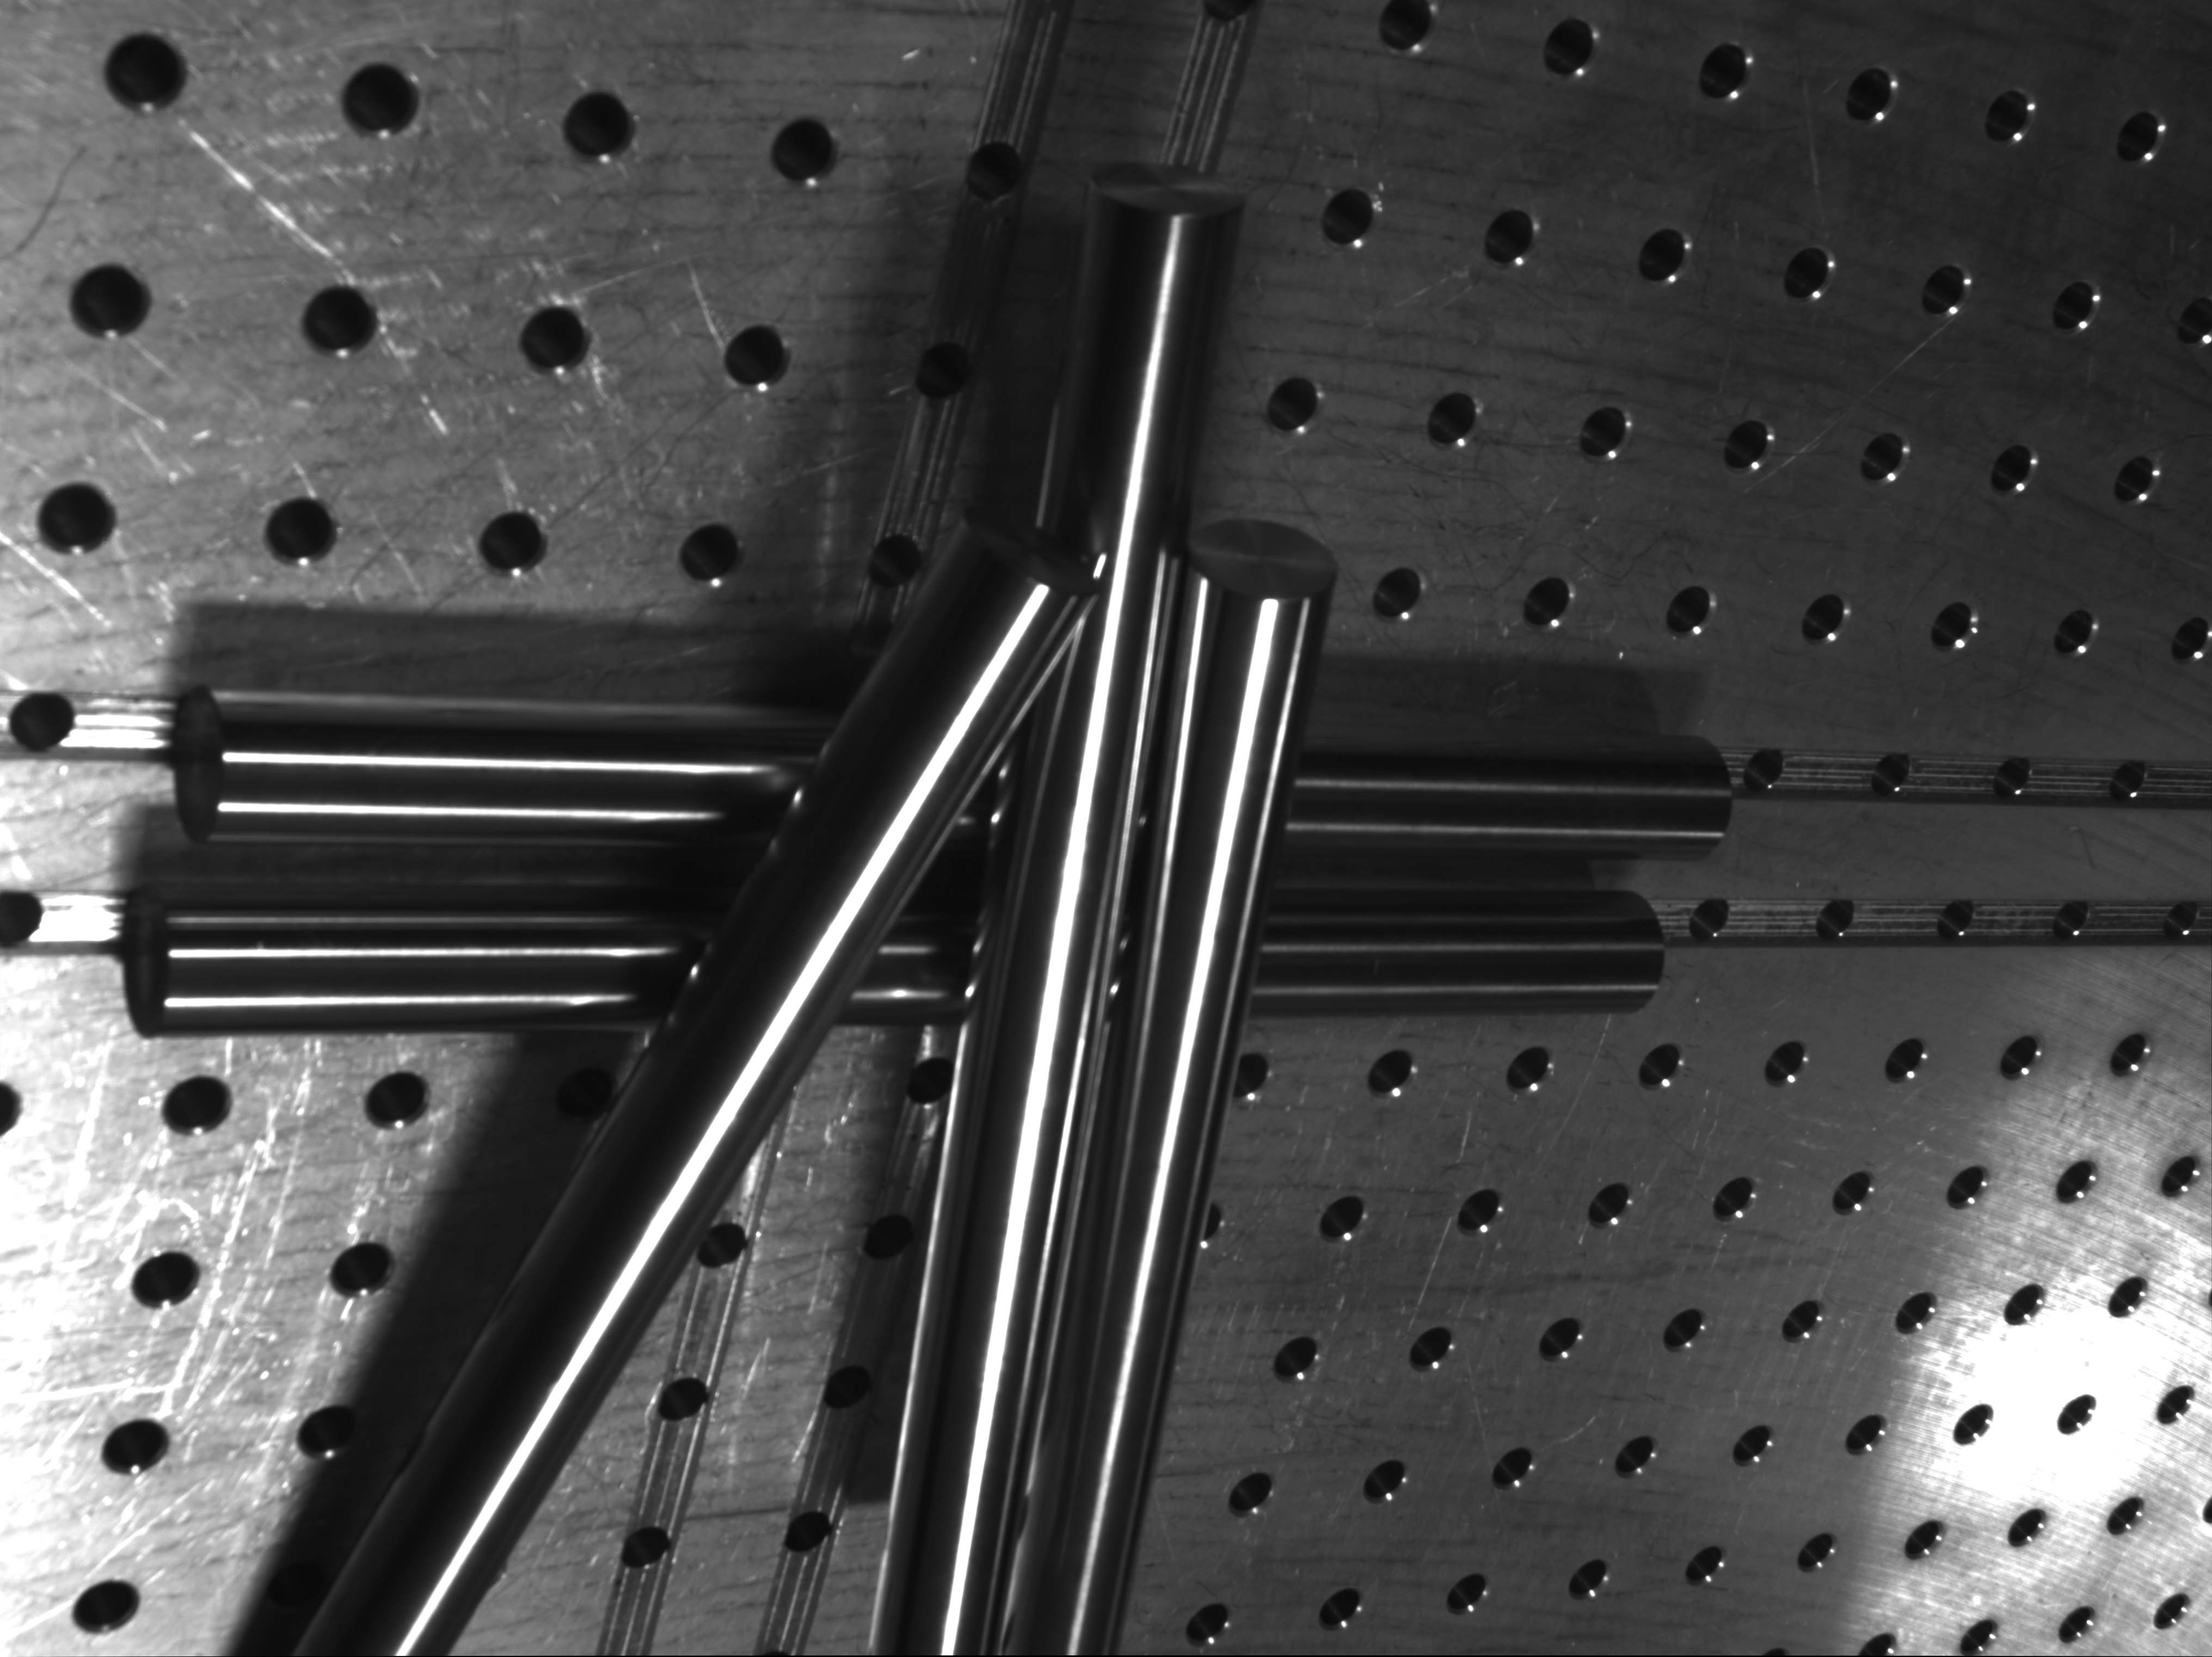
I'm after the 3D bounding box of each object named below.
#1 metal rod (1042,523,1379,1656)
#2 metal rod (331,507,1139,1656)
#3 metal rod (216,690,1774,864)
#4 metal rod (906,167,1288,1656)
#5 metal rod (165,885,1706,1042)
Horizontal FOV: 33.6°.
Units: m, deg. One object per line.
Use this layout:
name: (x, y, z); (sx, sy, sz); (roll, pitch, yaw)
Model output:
metal rod: (0.013, 0.077, 0.684); (0.025, 0.025, 0.300); (-10, 130, -25)
metal rod: (-0.080, 0.075, 0.630); (0.025, 0.025, 0.300); (16, 117, -36)
metal rod: (-0.006, -0.007, 0.647); (0.301, 0.025, 0.025); (1, 118, -31)
metal rod: (-0.005, 0.033, 0.639); (0.025, 0.025, 0.300); (-6, 121, -27)
metal rod: (-0.017, 0.023, 0.659); (0.301, 0.025, 0.025); (1, 118, -31)
